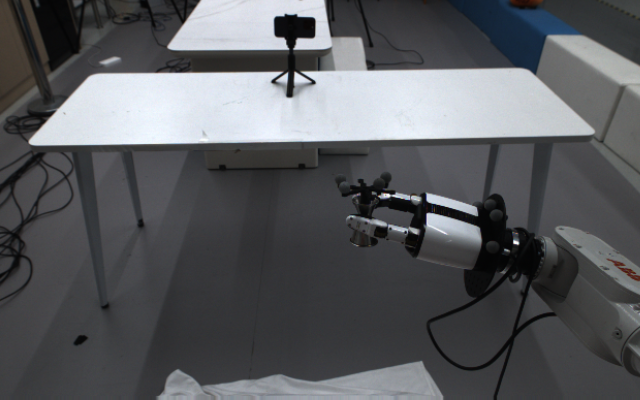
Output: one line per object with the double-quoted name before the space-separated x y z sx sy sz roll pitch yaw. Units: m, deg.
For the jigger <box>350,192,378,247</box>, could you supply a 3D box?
"jigger" 0.067 0.031 0.731 0.043 0.071 0.043 0 21 0
